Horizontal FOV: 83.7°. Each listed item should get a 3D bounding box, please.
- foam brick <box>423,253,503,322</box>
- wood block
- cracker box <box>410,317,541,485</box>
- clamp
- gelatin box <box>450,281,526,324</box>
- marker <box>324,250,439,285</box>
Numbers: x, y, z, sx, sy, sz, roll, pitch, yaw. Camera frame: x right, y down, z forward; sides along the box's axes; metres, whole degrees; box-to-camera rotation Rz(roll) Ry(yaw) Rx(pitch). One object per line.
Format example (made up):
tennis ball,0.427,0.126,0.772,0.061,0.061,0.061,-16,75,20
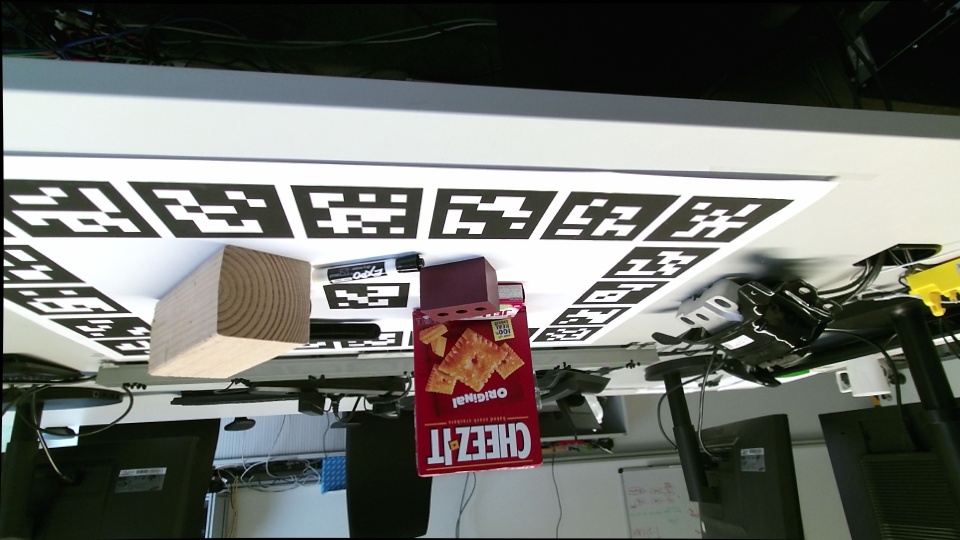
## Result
foam brick,-0.018,0.021,0.599,0.078,0.051,0.053,-12,154,12
wood block,-0.270,0.056,0.576,0.090,0.090,0.206,15,151,-43
cracker box,-0.012,0.175,0.732,0.165,0.212,0.072,-2,157,-7
clamp,-0.259,0.098,0.727,0.203,0.036,0.166,-15,154,17
gelatin box,0.008,0.043,0.685,0.090,0.030,0.073,-2,154,-10
marker,-0.103,-0.003,0.561,0.121,0.019,0.020,-10,154,7
